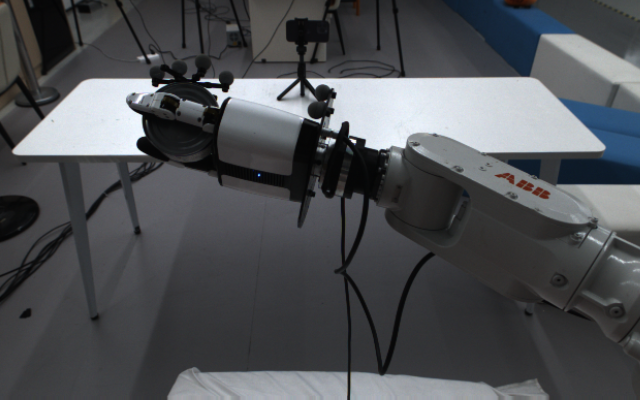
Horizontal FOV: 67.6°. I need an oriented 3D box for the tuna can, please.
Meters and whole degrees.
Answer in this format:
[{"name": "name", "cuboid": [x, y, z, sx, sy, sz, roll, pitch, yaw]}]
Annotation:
[{"name": "tuna can", "cuboid": [-0.151, -0.087, 0.545, 0.085, 0.034, 0.085, 0, 75, -1]}]
